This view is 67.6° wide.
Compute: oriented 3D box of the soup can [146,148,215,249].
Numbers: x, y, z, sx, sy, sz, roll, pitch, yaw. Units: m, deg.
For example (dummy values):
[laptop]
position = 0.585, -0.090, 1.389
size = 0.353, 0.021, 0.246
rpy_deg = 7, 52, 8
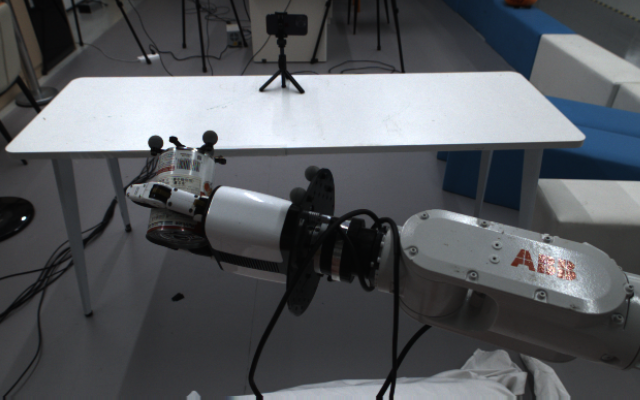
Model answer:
[soup can]
position = -0.156, -0.001, 0.555
size = 0.067, 0.067, 0.101
rpy_deg = 1, 68, -1
